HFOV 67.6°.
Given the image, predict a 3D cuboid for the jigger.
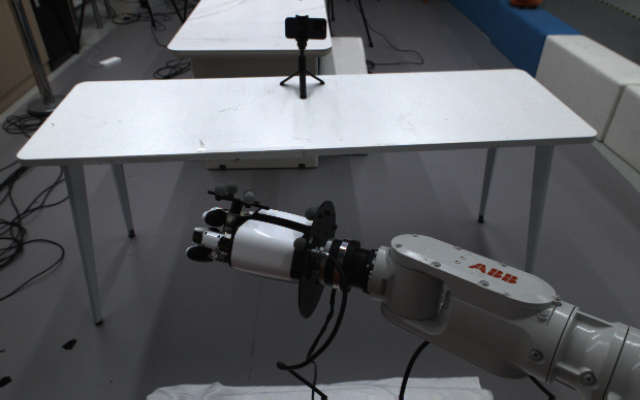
[{"bbox_3d":[-0.126,0.049,0.673,0.043,0.071,0.043,17,2,-1],"label":"jigger"}]
